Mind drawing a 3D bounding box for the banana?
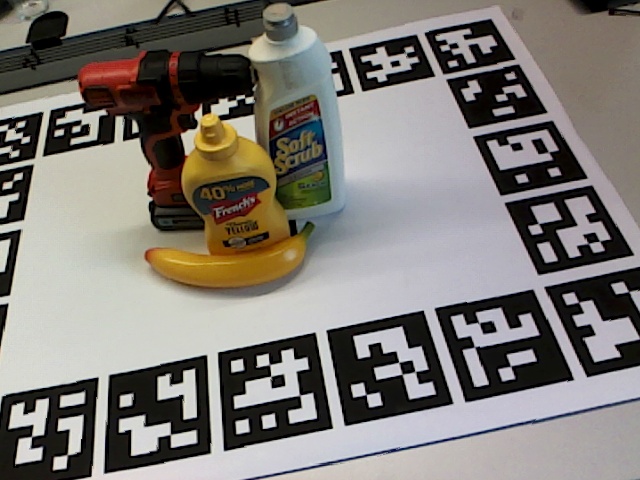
[{"bbox_3d":[-0.102,0.025,0.691,0.197,0.038,0.074,-9,54,5],"label":"banana"}]

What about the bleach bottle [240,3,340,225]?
[{"bbox_3d":[-0.039,-0.125,0.656,0.102,0.249,0.068,-9,47,2],"label":"bleach bottle"}]

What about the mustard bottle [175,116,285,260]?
[{"bbox_3d":[-0.097,-0.052,0.640,0.096,0.191,0.058,-11,53,0],"label":"mustard bottle"}]

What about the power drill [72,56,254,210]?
[{"bbox_3d":[-0.149,-0.112,0.668,0.185,0.186,0.057,-1,53,7],"label":"power drill"}]
